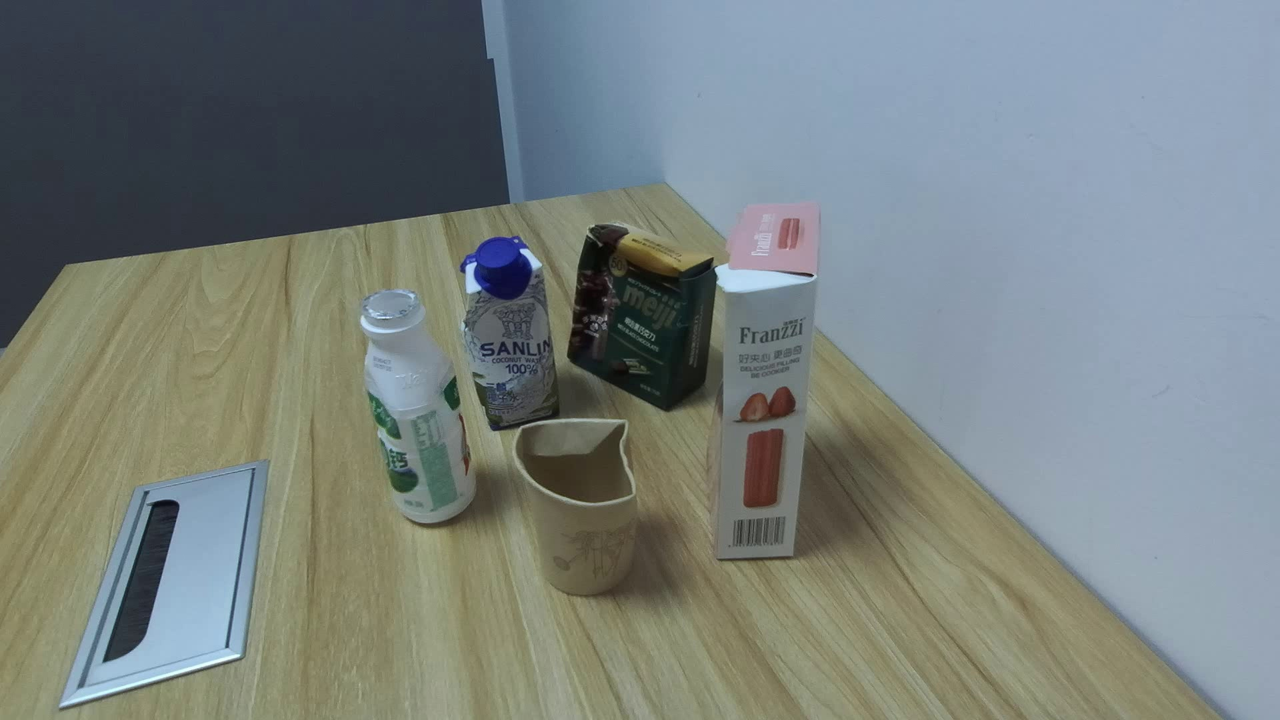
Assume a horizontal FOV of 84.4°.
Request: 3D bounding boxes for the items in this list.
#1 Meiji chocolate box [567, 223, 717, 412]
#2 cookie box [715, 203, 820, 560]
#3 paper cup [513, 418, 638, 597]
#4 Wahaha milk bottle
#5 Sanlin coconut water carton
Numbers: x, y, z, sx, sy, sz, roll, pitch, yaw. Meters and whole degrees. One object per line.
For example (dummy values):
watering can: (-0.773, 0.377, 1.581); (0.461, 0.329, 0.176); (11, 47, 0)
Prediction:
Meiji chocolate box: (0.001, -0.038, 0.558); (0.113, 0.110, 0.058); (24, 32, 28)
cookie box: (0.068, 0.015, 0.403); (0.055, 0.184, 0.118); (4, 34, 7)
paper cup: (-0.034, 0.084, 0.392); (0.066, 0.084, 0.071); (-2, 34, -2)
Wahaha milk bottle: (-0.130, 0.030, 0.416); (0.055, 0.149, 0.055); (1, 35, 0)
Sanlin coconut water carton: (-0.095, -0.023, 0.498); (0.061, 0.144, 0.069); (-12, 35, -14)
